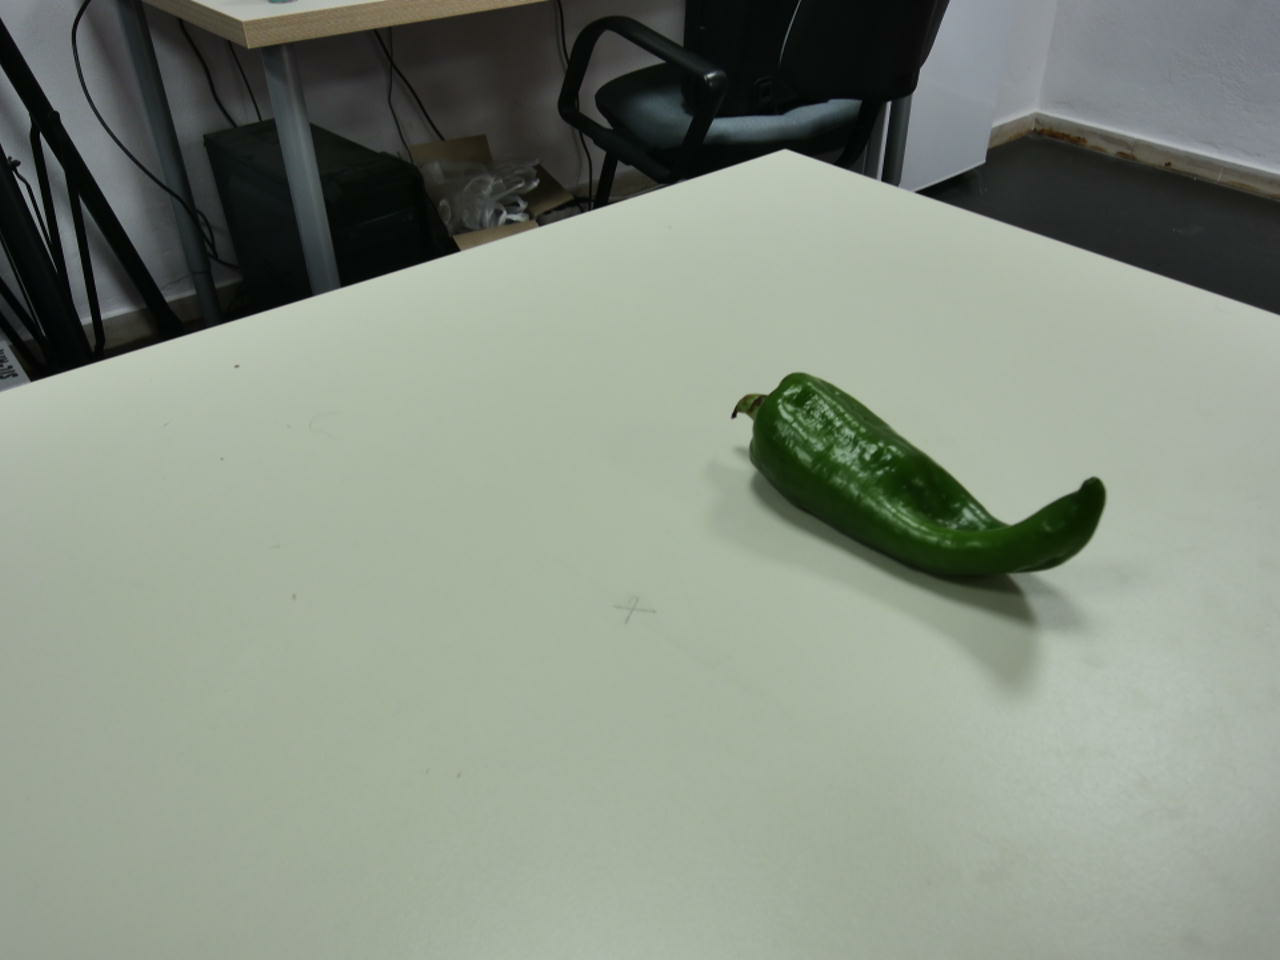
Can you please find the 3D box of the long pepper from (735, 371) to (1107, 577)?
[{"bbox_3d":[0.105,-0.006,0.425,0.058,0.065,0.175,-25,42,-31],"label":"long pepper"}]
